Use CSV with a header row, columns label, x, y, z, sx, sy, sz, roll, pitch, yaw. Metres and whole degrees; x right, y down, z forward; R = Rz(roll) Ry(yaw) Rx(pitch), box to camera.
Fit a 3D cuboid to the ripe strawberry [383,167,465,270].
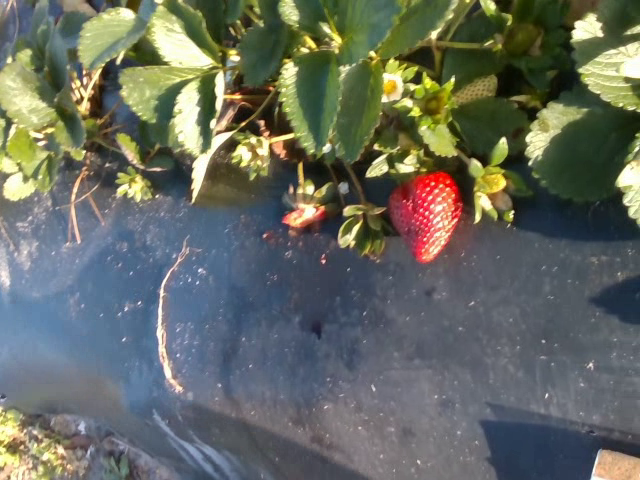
label,x,y,z,sx,sy,sz,roll,pitch,yaw
ripe strawberry,0.060,-0.010,0.348,0.041,0.052,0.052,32,-39,-30
